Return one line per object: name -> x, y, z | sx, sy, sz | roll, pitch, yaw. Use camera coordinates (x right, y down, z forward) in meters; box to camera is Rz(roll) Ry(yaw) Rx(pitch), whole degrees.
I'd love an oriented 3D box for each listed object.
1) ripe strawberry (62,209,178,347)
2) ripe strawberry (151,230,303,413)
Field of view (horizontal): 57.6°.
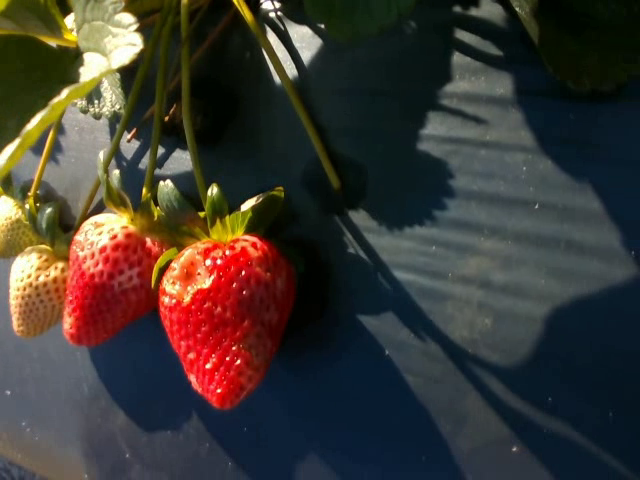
ripe strawberry -> -0.077, 0.015, 0.213 | 0.050, 0.061, 0.044 | 30, -2, 1
ripe strawberry -> -0.029, 0.028, 0.190 | 0.051, 0.067, 0.056 | 15, -37, -33
